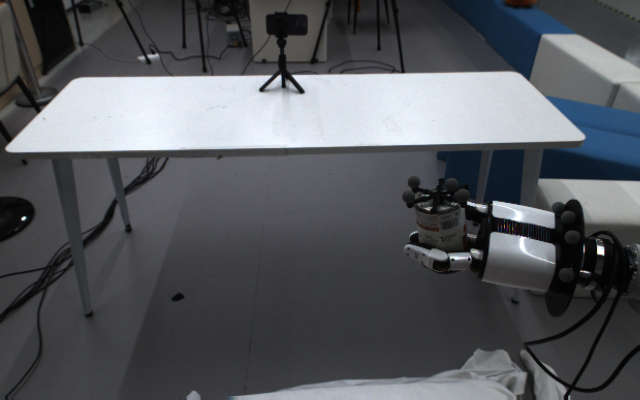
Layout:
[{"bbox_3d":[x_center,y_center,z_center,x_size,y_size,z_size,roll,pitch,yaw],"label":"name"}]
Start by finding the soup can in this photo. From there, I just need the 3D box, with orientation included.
[{"bbox_3d":[0.171,0.041,0.670,0.067,0.101,0.067,-11,27,6],"label":"soup can"}]
